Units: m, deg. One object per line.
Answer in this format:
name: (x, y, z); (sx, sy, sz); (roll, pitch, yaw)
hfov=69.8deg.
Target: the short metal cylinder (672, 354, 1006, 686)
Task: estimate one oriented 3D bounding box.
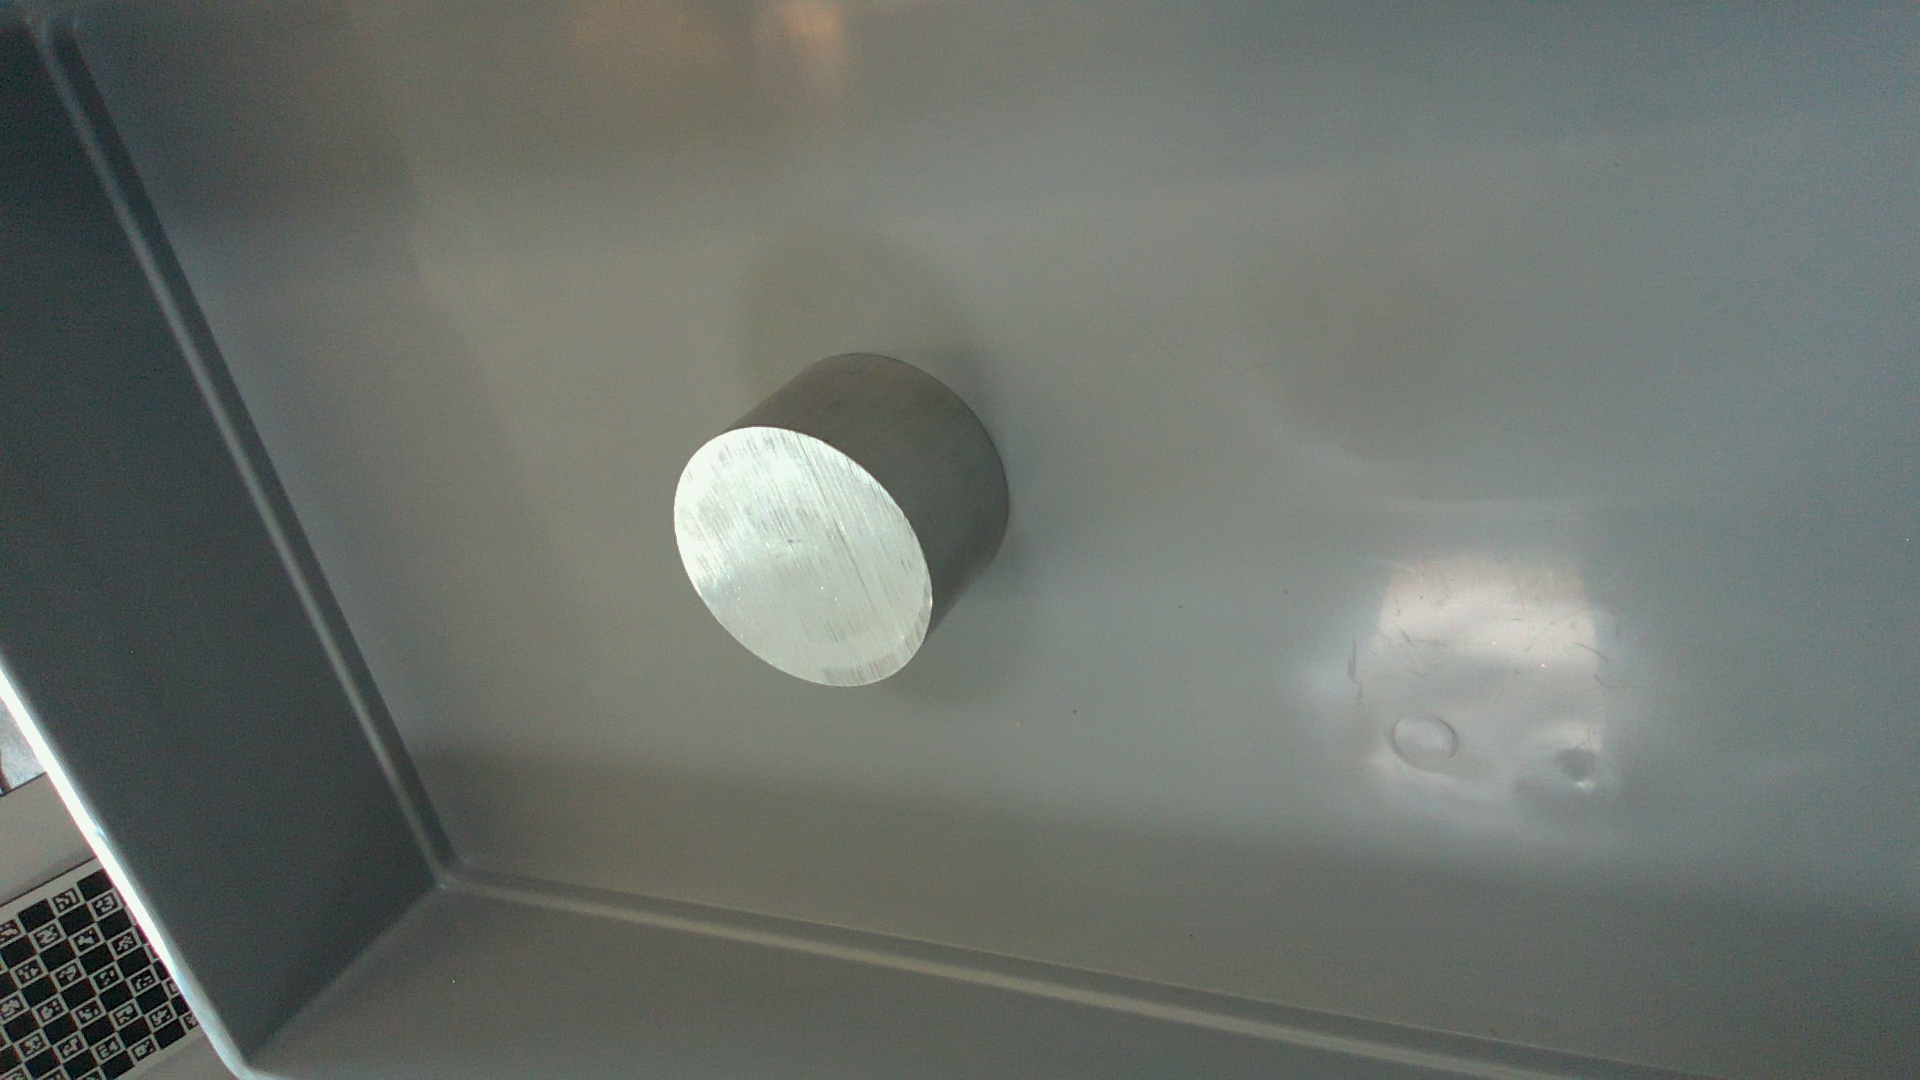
short metal cylinder: (-0.033, -0.006, 0.388); (0.080, 0.050, 0.080); (13, 124, 21)
